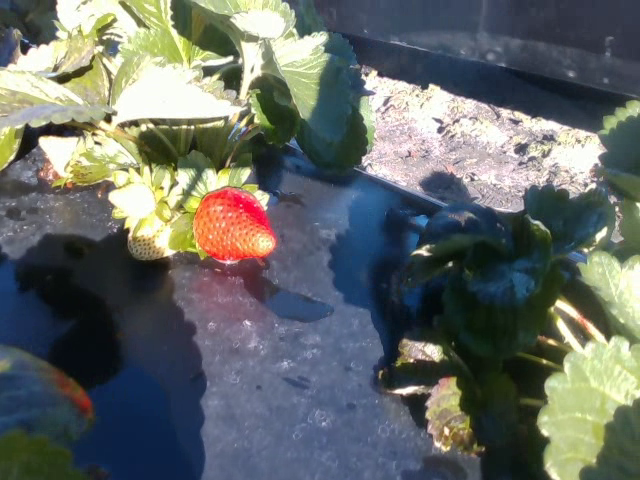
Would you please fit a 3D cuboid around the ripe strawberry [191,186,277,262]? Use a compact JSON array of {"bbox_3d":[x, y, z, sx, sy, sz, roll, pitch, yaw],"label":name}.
[{"bbox_3d":[-0.042,-0.004,0.327,0.064,0.049,0.052,27,-19,41],"label":"ripe strawberry"}]
